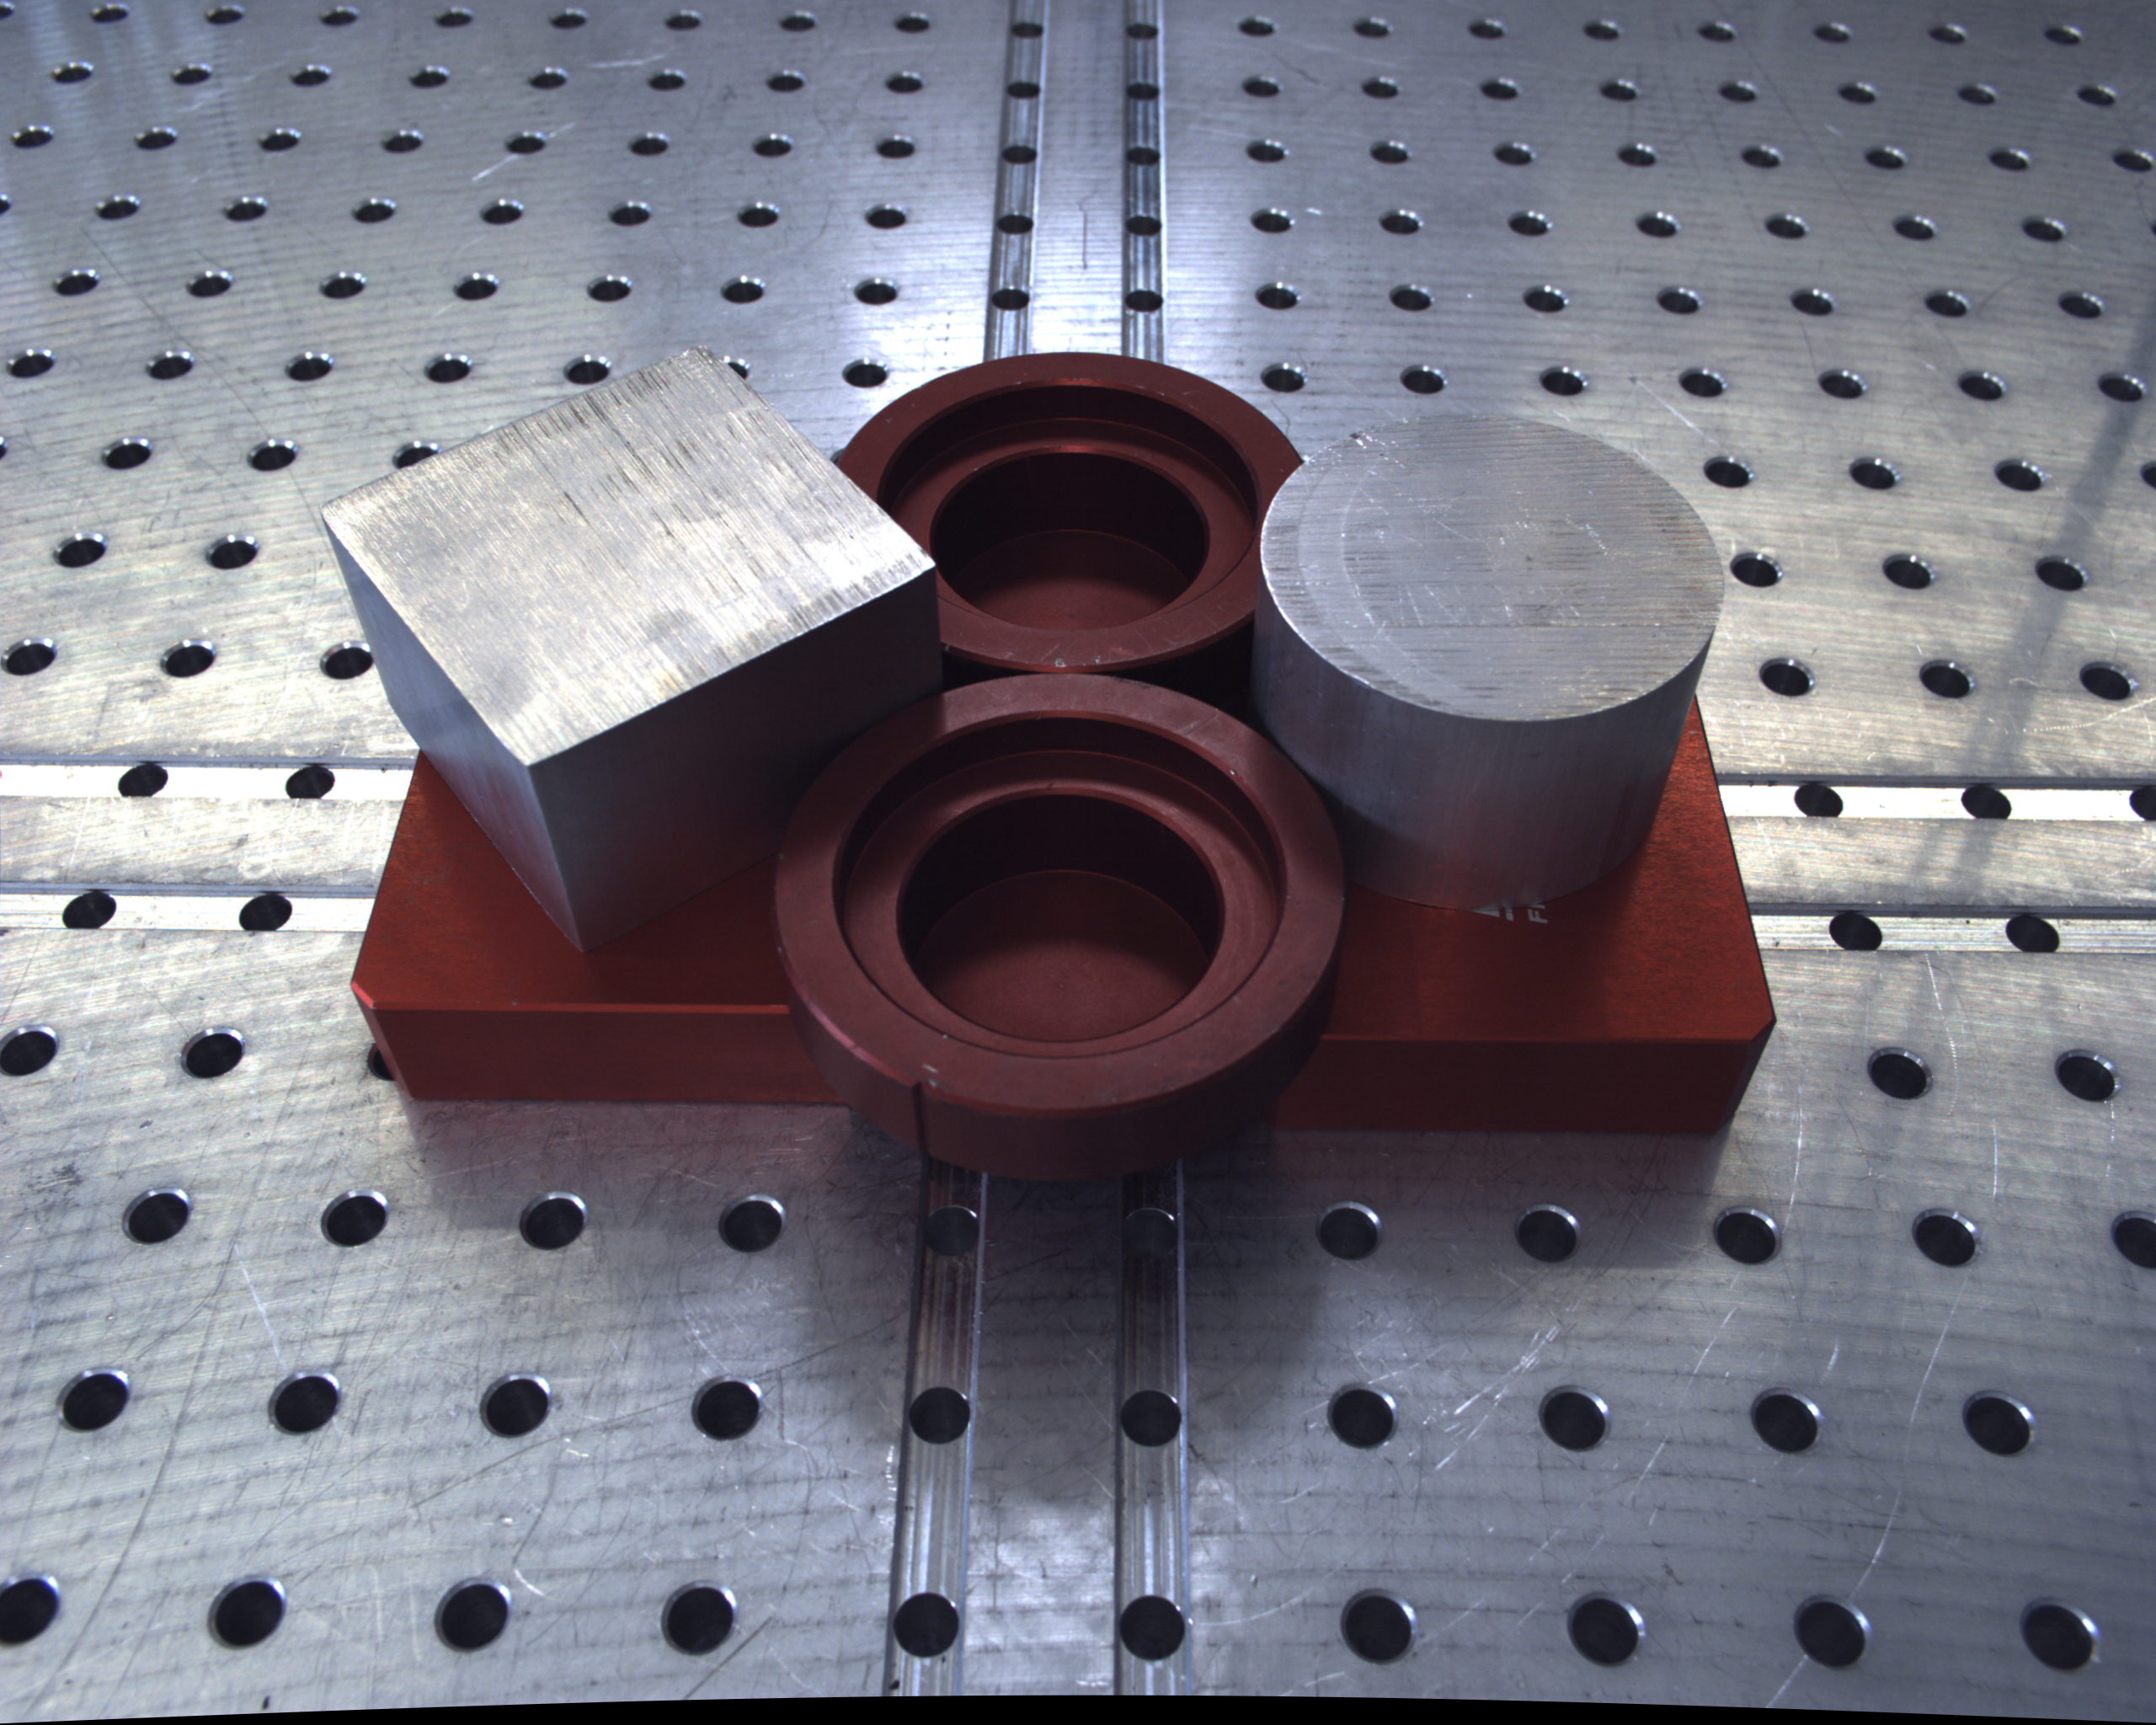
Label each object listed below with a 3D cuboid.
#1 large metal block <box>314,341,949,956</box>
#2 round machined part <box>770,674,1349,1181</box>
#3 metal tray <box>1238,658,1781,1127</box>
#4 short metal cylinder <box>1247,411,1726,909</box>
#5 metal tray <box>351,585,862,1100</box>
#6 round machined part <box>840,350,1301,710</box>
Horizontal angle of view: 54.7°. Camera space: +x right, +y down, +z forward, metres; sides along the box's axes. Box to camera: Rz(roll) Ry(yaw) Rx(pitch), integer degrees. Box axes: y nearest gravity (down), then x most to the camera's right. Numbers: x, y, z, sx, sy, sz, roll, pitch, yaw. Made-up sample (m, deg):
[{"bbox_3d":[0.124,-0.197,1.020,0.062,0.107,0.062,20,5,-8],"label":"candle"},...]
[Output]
[{"bbox_3d":[-0.080,-0.042,0.387,0.081,0.050,0.080,-30,56,-23],"label":"large metal block"},{"bbox_3d":[-0.003,0.015,0.372,0.099,0.042,0.098,0,50,0],"label":"round machined part"},{"bbox_3d":[0.078,-0.011,0.411,0.091,0.030,0.130,1,50,0],"label":"metal tray"},{"bbox_3d":[0.072,-0.038,0.384,0.081,0.050,0.080,0,50,0],"label":"short metal cylinder"},{"bbox_3d":[-0.082,-0.015,0.416,0.091,0.030,0.130,1,50,-1],"label":"metal tray"},{"bbox_3d":[-0.001,-0.061,0.435,0.099,0.042,0.098,0,50,0],"label":"round machined part"}]
